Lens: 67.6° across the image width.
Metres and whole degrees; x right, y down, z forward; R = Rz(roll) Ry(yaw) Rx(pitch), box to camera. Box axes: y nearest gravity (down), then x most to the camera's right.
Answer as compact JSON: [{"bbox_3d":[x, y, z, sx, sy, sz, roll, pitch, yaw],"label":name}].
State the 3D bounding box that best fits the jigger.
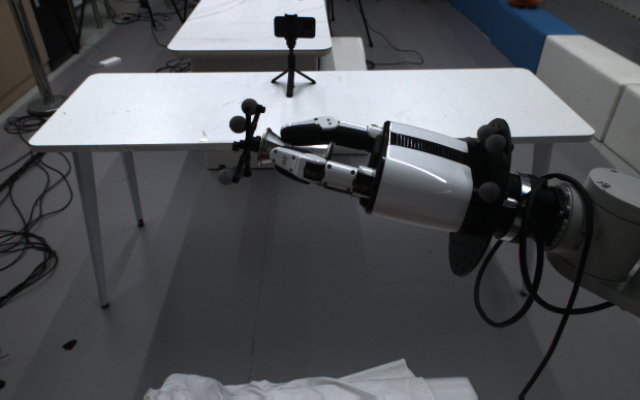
[{"bbox_3d":[-0.021,-0.049,0.493,0.071,0.043,0.043,14,36,4],"label":"jigger"}]
